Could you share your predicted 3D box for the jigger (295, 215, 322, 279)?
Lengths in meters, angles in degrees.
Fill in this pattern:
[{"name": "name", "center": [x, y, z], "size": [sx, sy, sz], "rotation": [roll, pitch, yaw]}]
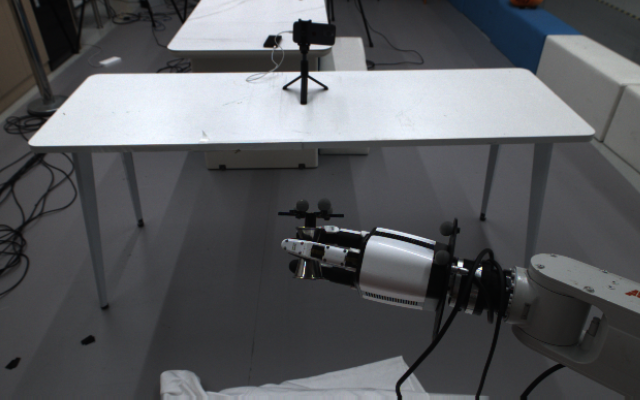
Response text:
[{"name": "jigger", "center": [-0.014, 0.070, 0.651], "size": [0.043, 0.071, 0.043], "rotation": [2, -6, 0]}]
